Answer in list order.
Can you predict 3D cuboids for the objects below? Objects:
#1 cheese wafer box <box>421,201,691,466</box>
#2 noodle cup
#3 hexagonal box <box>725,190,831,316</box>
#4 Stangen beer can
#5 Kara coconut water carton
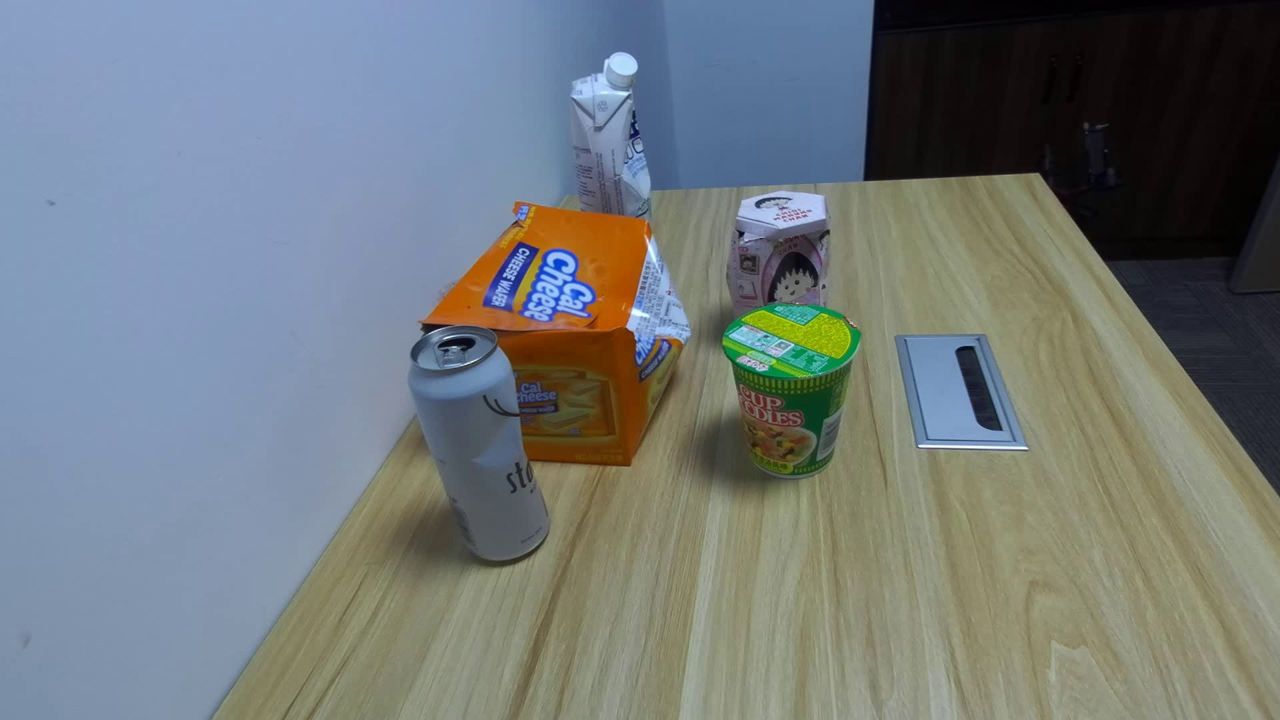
[{"bbox_3d":[-0.052,-0.035,0.636,0.191,0.145,0.219,1,35,13],"label":"cheese wafer box"},{"bbox_3d":[0.115,0.028,0.535,0.097,0.110,0.097,-6,34,5],"label":"noodle cup"},{"bbox_3d":[0.132,-0.083,0.674,0.091,0.135,0.090,7,34,21],"label":"hexagonal box"},{"bbox_3d":[-0.106,0.059,0.490,0.069,0.173,0.070,0,34,13],"label":"Stangen beer can"},{"bbox_3d":[-0.029,-0.186,0.748,0.078,0.256,0.083,4,35,14],"label":"Kara coconut water carton"}]
